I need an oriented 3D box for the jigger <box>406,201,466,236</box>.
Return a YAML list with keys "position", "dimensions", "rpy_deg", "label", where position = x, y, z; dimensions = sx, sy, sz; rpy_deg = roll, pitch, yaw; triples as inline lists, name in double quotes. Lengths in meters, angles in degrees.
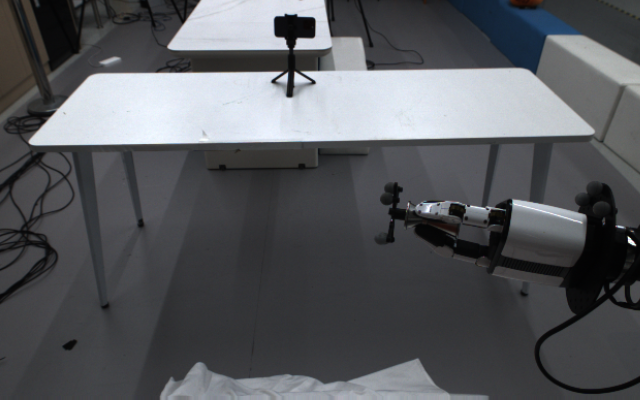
- position: [0.153, 0.021, 0.629]
  dimensions: [0.071, 0.043, 0.043]
  rpy_deg: [8, 35, 14]
  label: "jigger"
